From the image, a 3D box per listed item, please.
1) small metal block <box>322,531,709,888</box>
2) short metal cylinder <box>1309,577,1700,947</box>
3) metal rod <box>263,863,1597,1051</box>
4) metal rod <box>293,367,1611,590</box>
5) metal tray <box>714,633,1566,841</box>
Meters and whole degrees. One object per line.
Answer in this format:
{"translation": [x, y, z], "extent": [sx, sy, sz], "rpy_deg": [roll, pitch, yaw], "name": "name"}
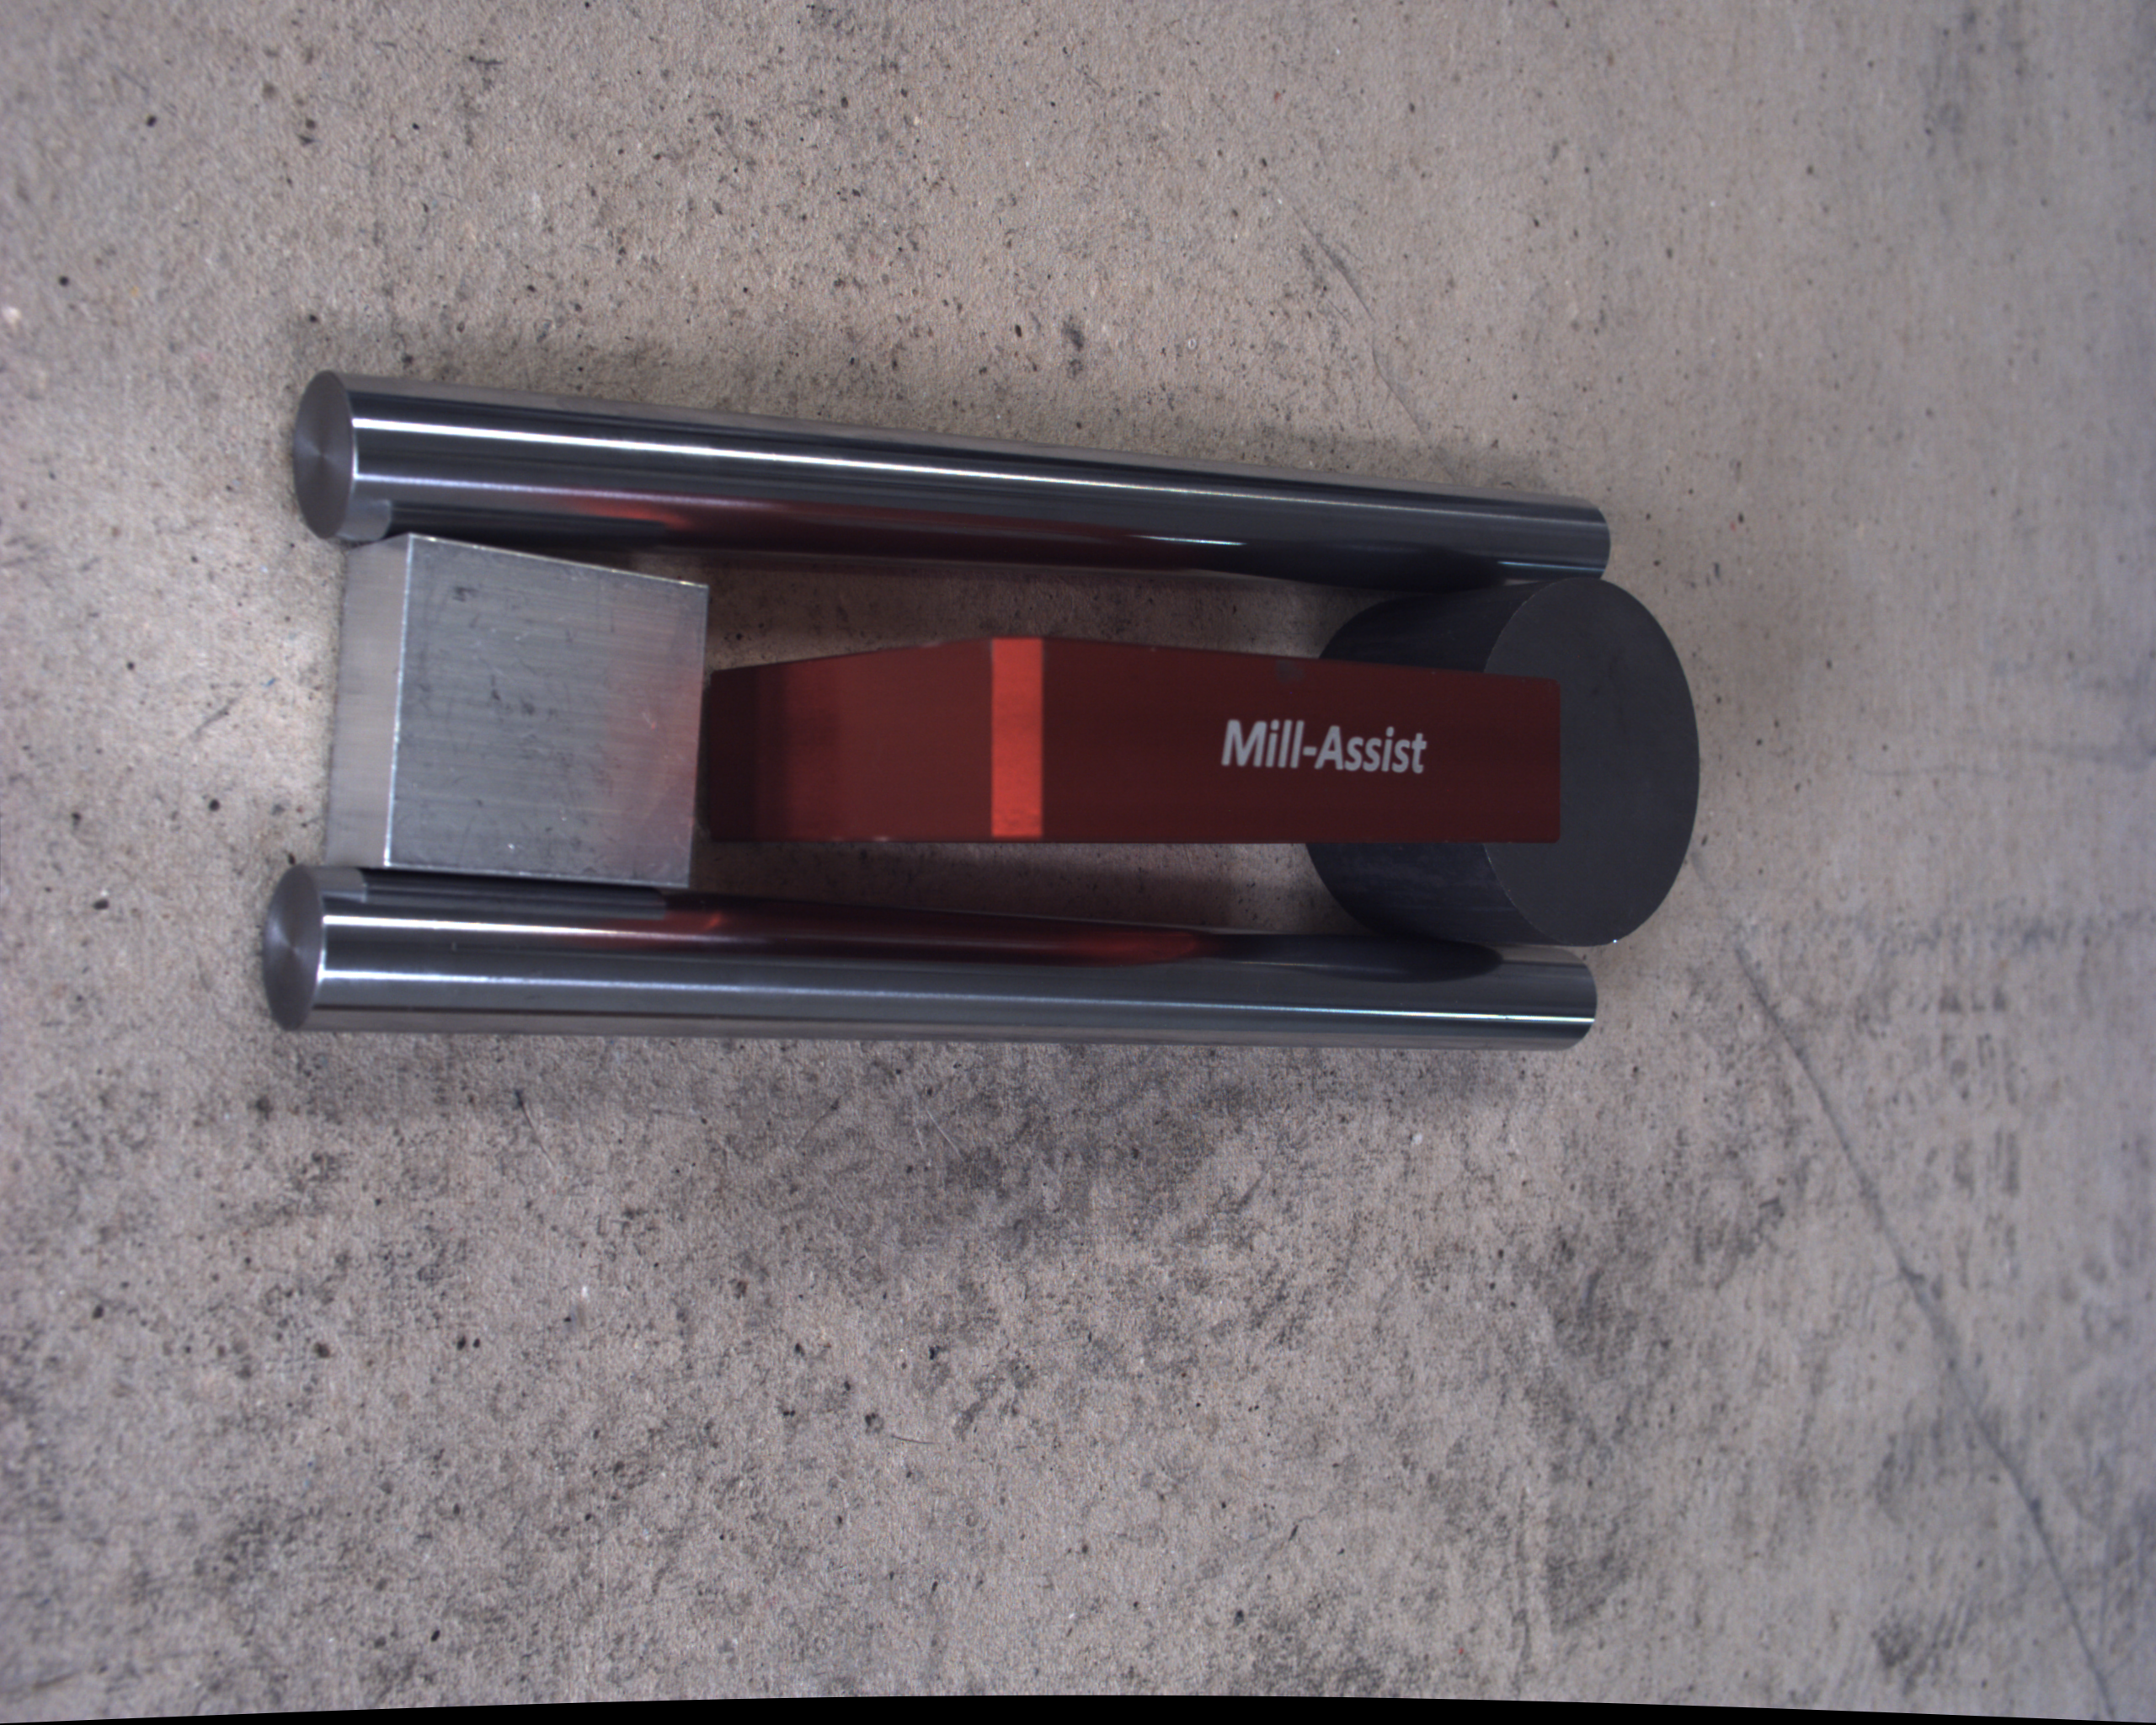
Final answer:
{"translation": [-0.089, -0.023, 0.332], "extent": [0.050, 0.025, 0.050], "rpy_deg": [5, 87, -40], "name": "small metal block"}
{"translation": [0.095, -0.022, 0.469], "extent": [0.081, 0.050, 0.079], "rpy_deg": [0, 90, -40], "name": "short metal cylinder"}
{"translation": [-0.001, 0.023, 0.406], "extent": [0.302, 0.025, 0.025], "rpy_deg": [5, 87, -40], "name": "metal rod"}
{"translation": [0.003, -0.069, 0.409], "extent": [0.302, 0.025, 0.025], "rpy_deg": [-4, 93, -40], "name": "metal rod"}
{"translation": [0.013, -0.019, 0.373], "extent": [0.131, 0.090, 0.030], "rpy_deg": [0, 90, -40], "name": "metal tray"}
